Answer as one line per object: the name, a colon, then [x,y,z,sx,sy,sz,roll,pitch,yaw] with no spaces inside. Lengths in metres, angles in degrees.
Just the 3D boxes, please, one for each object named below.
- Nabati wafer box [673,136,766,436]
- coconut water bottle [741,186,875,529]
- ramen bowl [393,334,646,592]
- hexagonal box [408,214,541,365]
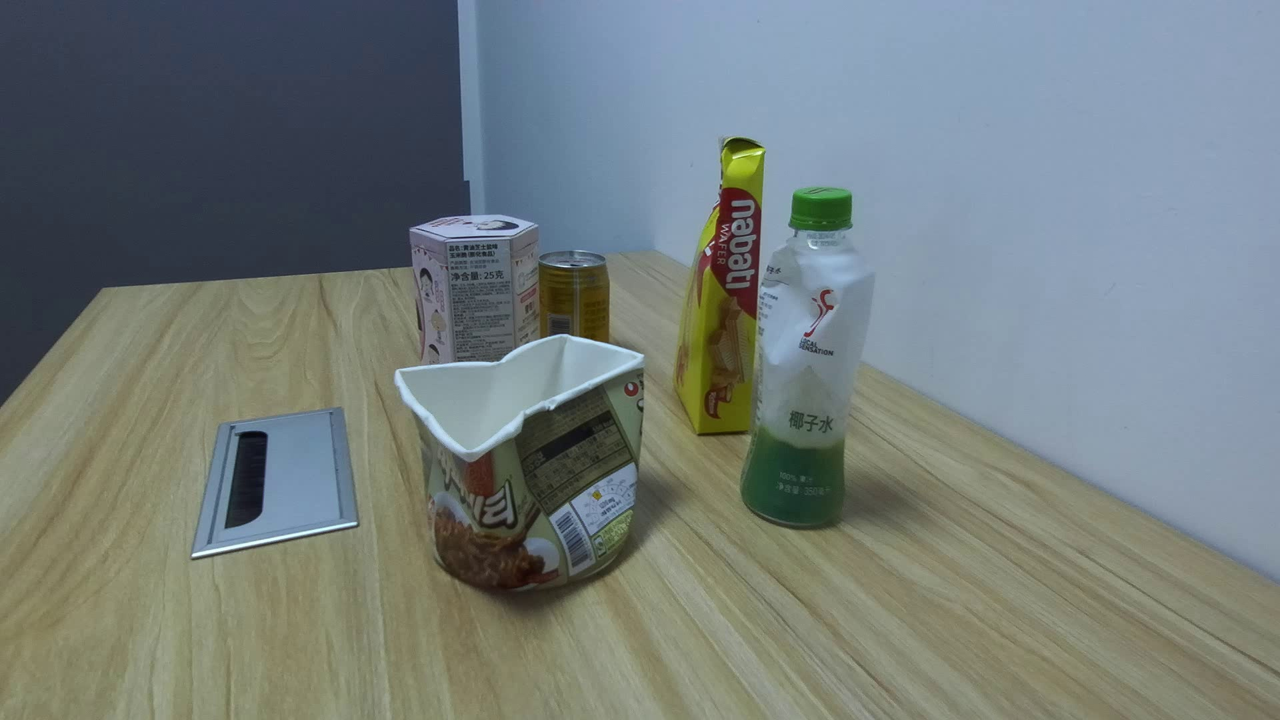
Nabati wafer box: [0.060,-0.056,0.512,0.042,0.205,0.113,2,20,-6]
coconut water bottle: [0.095,-0.001,0.397,0.069,0.187,0.069,2,23,-1]
ramen bowl: [-0.053,0.050,0.384,0.129,0.093,0.111,-15,28,-35]
hexagonal box: [-0.122,-0.034,0.532,0.084,0.136,0.091,7,23,11]
